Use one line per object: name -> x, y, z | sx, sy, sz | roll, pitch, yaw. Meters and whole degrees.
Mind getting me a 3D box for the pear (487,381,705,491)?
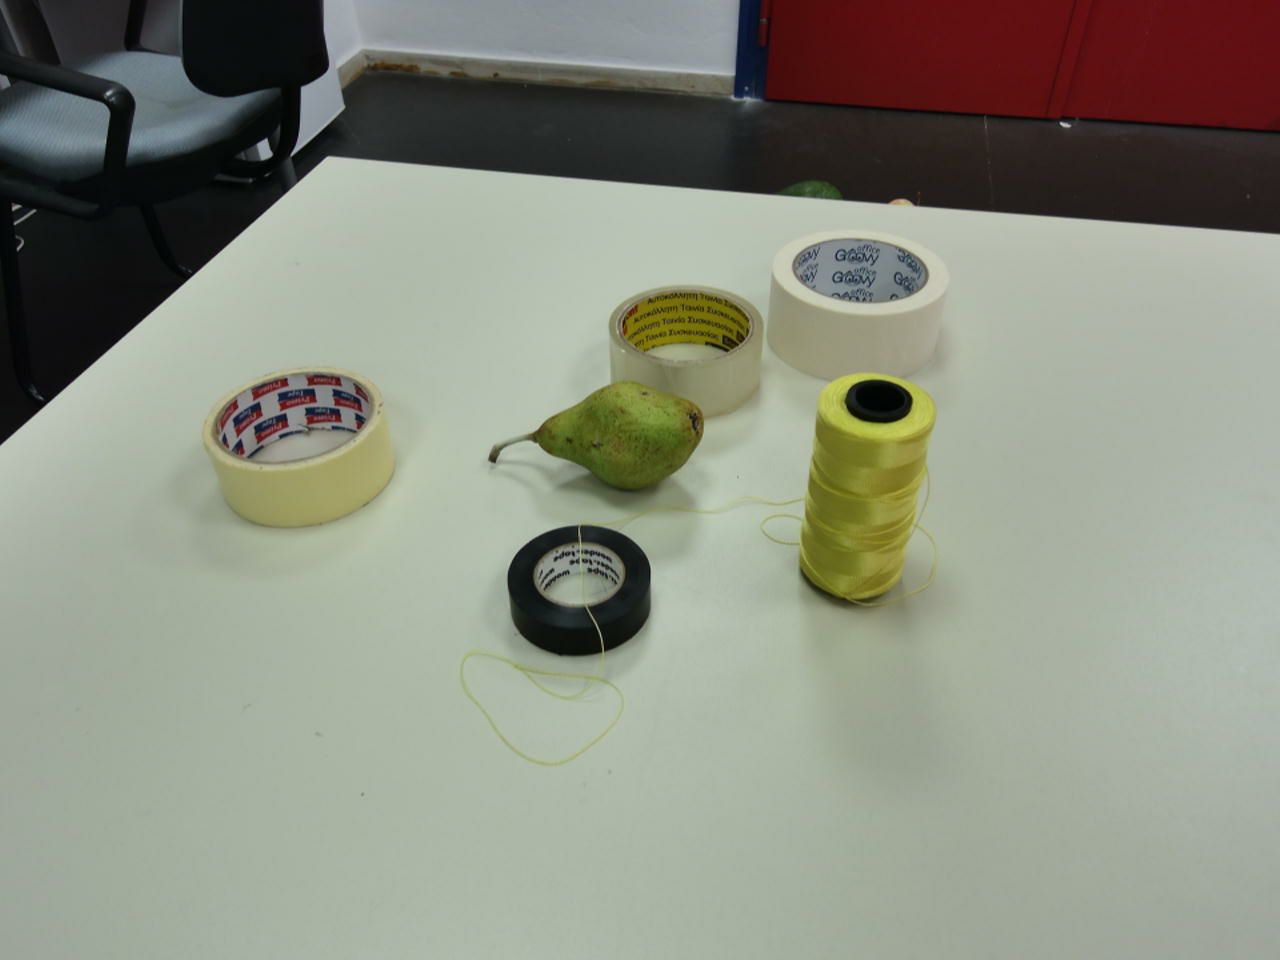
pear -> -0.021, -0.028, 0.523 | 0.111, 0.056, 0.056 | 18, 42, 22
